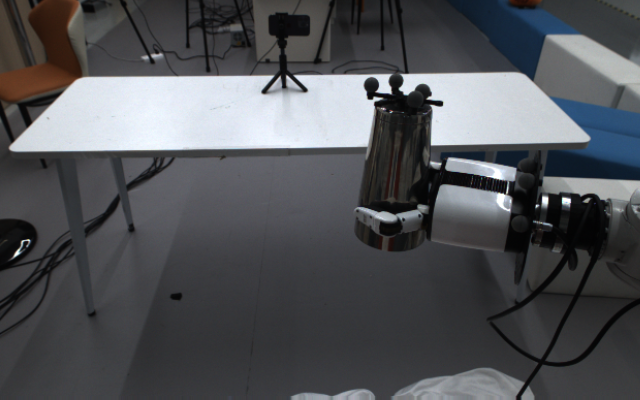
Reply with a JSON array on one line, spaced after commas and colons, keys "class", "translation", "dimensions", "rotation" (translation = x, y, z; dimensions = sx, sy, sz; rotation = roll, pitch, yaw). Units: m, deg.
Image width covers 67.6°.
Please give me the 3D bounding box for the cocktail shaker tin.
[{"class": "cocktail shaker tin", "translation": [0.095, -0.033, 0.595], "dimensions": [0.093, 0.170, 0.093], "rotation": [1, 28, -1]}]
